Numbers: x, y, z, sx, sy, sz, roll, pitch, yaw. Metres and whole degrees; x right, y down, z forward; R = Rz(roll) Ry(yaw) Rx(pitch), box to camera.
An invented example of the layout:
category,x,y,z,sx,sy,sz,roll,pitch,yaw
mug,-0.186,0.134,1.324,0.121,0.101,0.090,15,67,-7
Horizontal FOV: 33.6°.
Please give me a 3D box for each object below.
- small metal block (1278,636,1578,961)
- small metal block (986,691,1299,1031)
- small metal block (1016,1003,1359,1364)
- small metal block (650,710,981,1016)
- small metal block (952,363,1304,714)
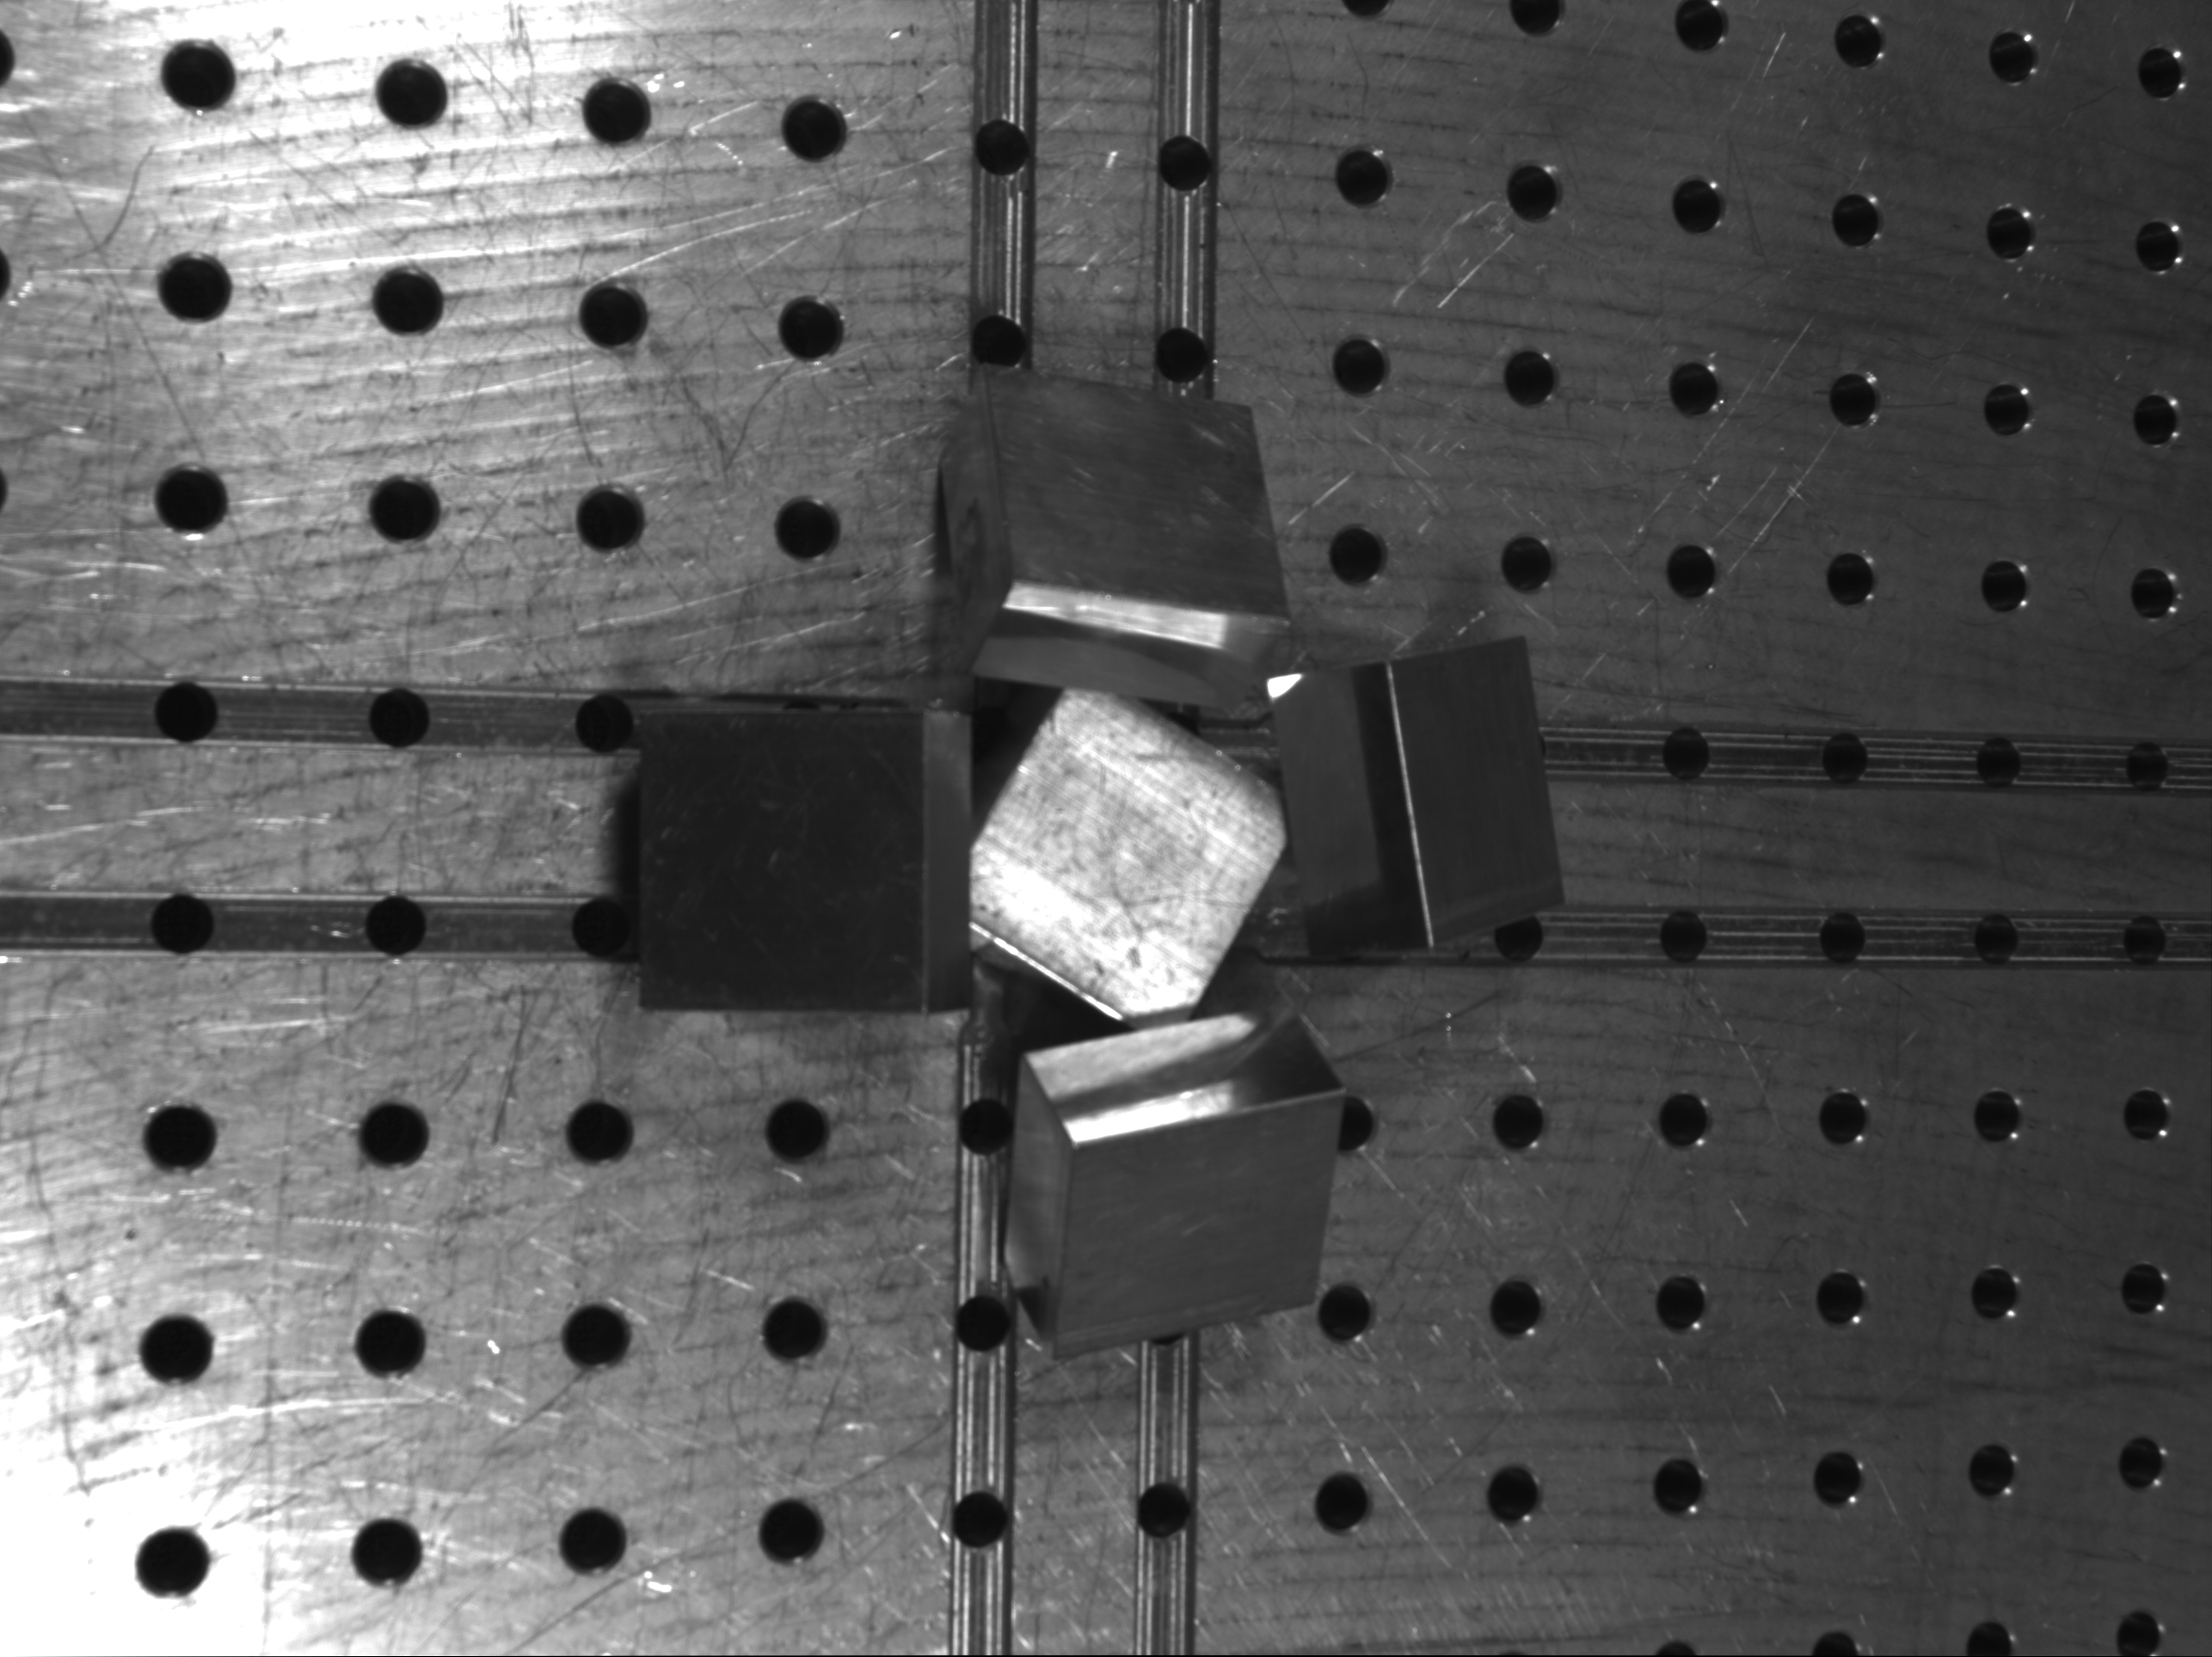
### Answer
category,x,y,z,sx,sy,sz,roll,pitch,yaw
small metal block,0.058,-0.006,0.654,0.050,0.025,0.050,-13,95,-54
small metal block,0.001,0.005,0.646,0.050,0.025,0.050,33,79,-17
small metal block,0.013,0.062,0.637,0.050,0.025,0.050,-9,129,-20
small metal block,-0.049,0.006,0.616,0.050,0.025,0.050,0,90,15
small metal block,0.003,-0.050,0.634,0.050,0.025,0.050,7,52,-19
